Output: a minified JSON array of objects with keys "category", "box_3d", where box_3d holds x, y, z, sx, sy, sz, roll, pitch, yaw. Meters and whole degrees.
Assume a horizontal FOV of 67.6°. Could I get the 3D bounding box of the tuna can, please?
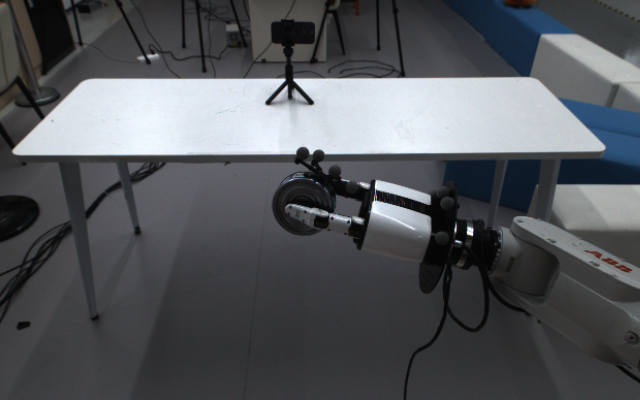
[{"category":"tuna can","box_3d":[-0.021,0.005,0.665,0.085,0.085,0.034,6,19,6]}]
